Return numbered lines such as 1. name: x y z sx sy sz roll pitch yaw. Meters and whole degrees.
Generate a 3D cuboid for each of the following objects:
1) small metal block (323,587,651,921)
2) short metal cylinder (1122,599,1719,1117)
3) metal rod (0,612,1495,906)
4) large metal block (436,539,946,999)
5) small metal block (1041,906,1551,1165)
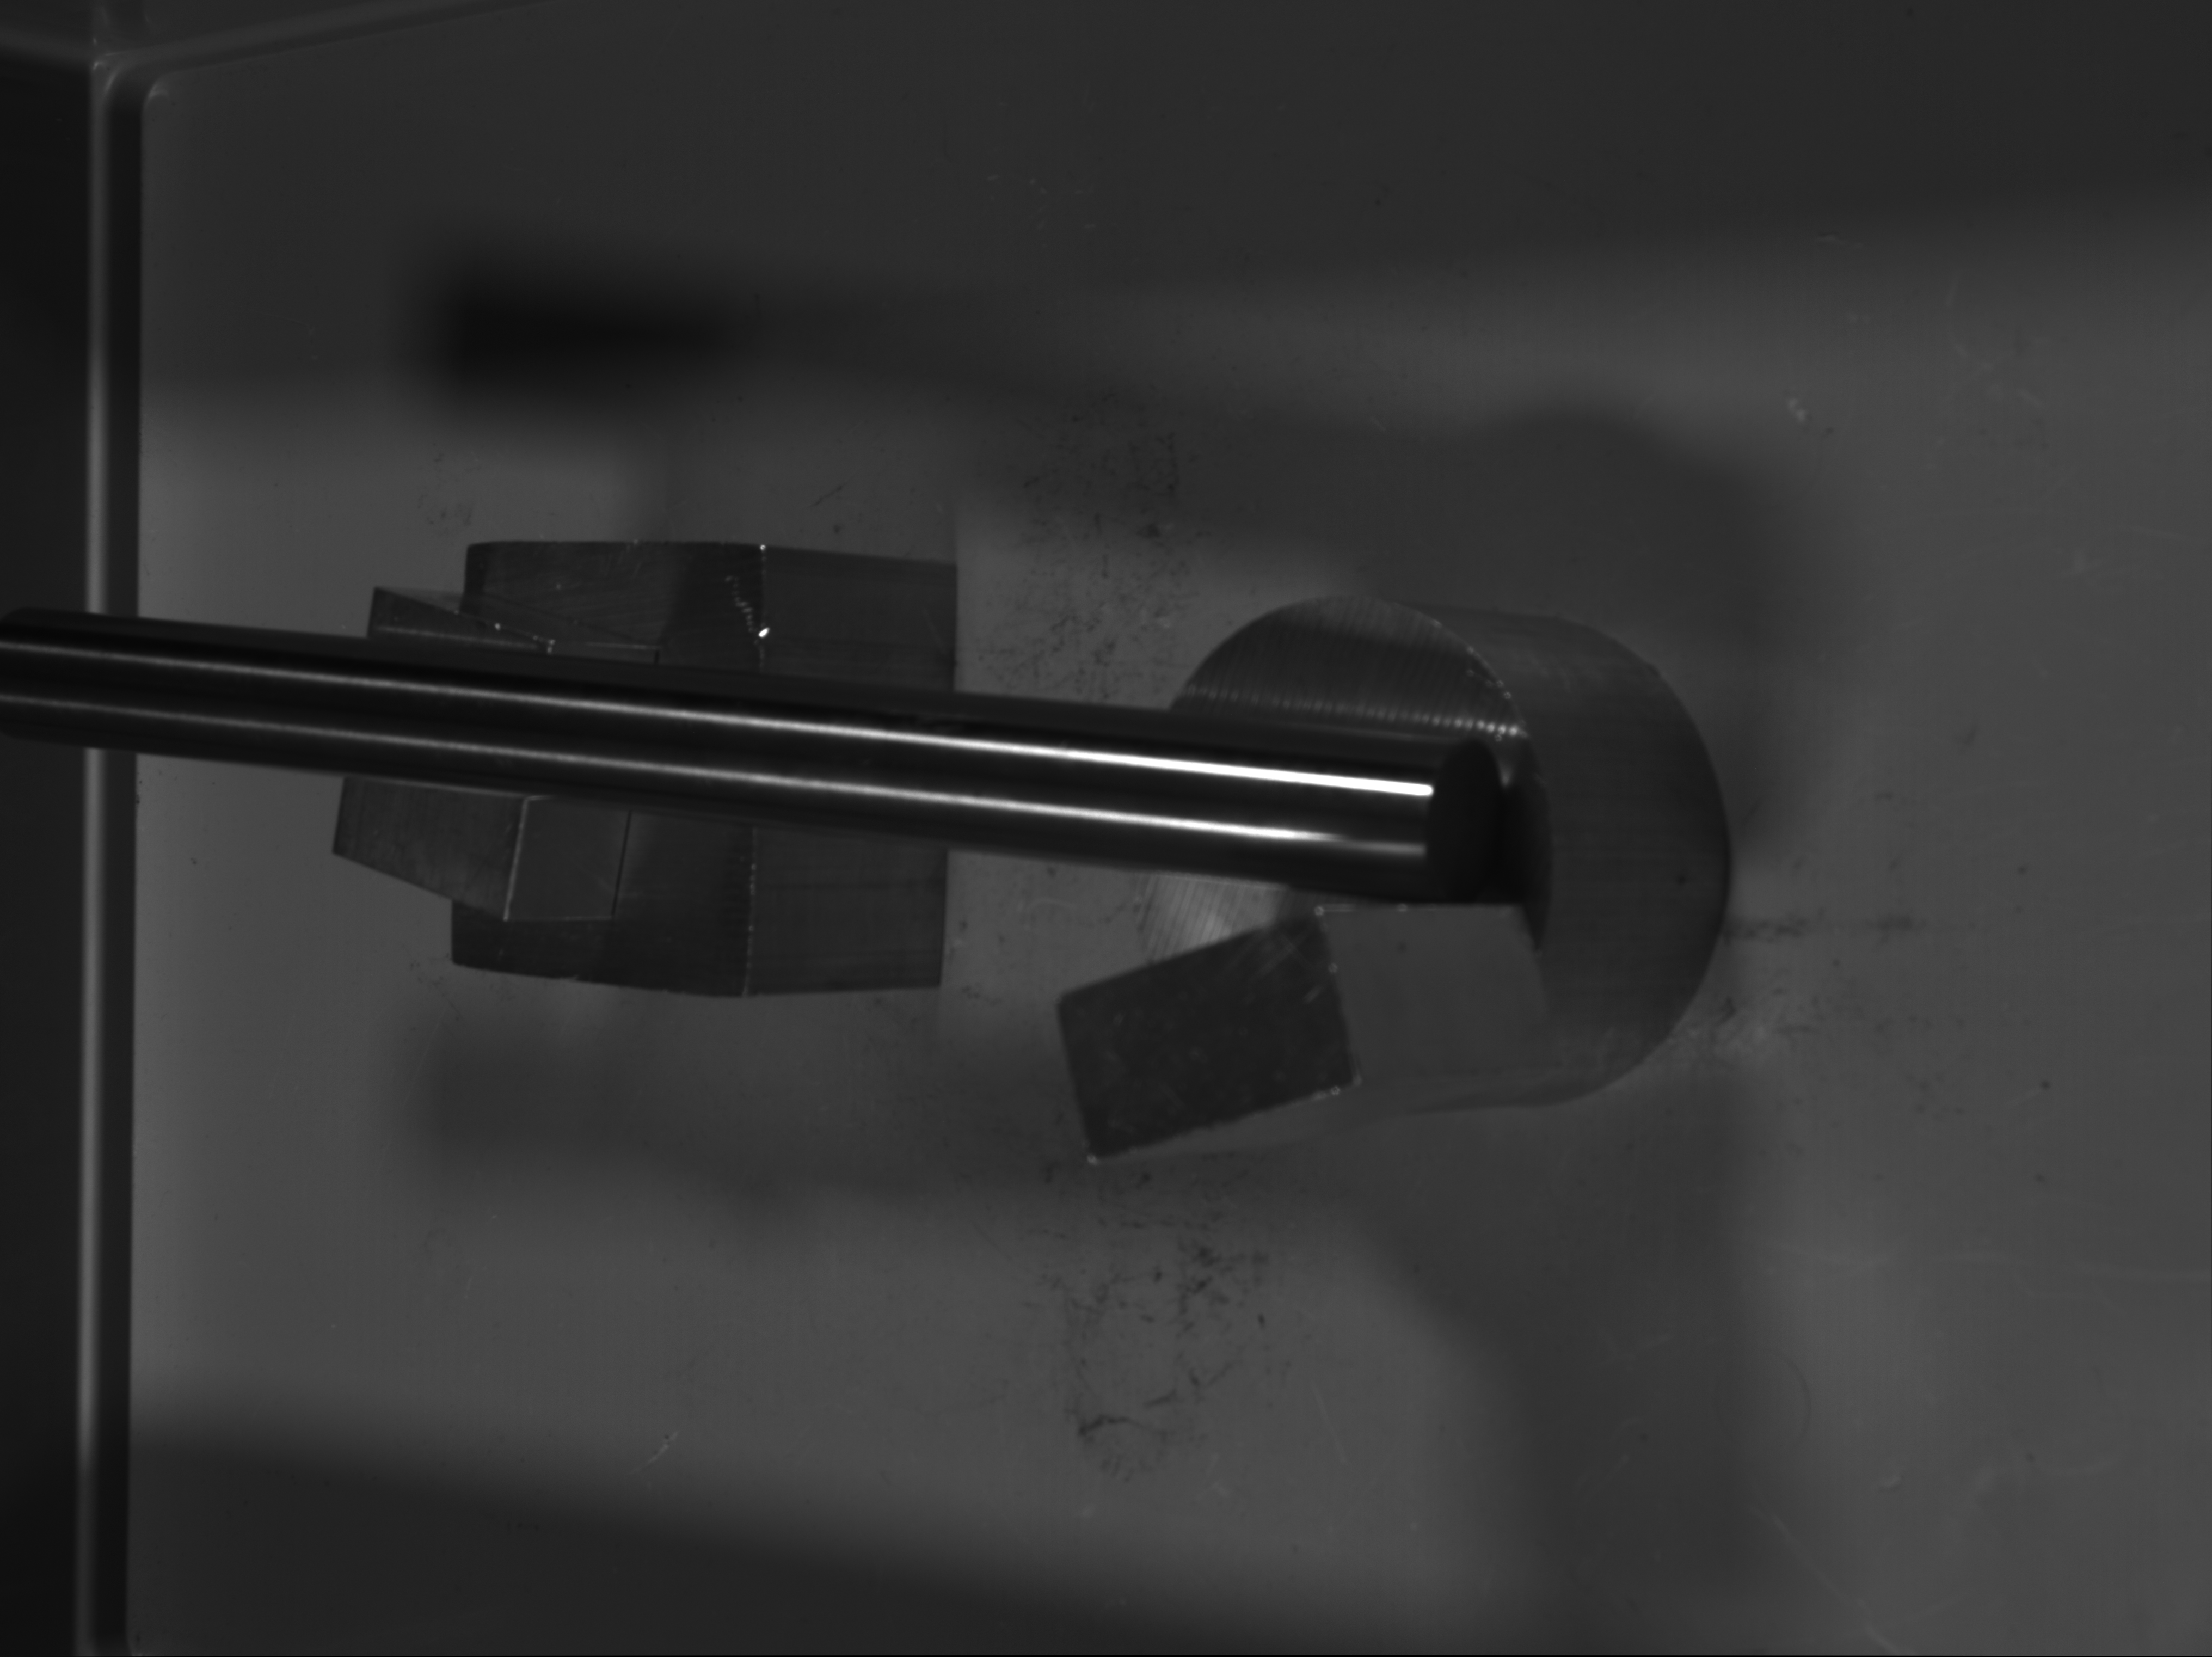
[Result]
1. small metal block: -0.112 -0.014 0.662 0.050 0.025 0.050 17 100 38
2. short metal cylinder: 0.049 0.005 0.578 0.080 0.050 0.080 0 90 39
3. metal rod: -0.076 -0.014 0.606 0.299 0.025 0.025 6 94 31
4. large metal block: -0.078 -0.012 0.681 0.080 0.050 0.080 3 92 39
5. small metal block: 0.028 0.030 0.530 0.050 0.050 0.025 -19 78 38
